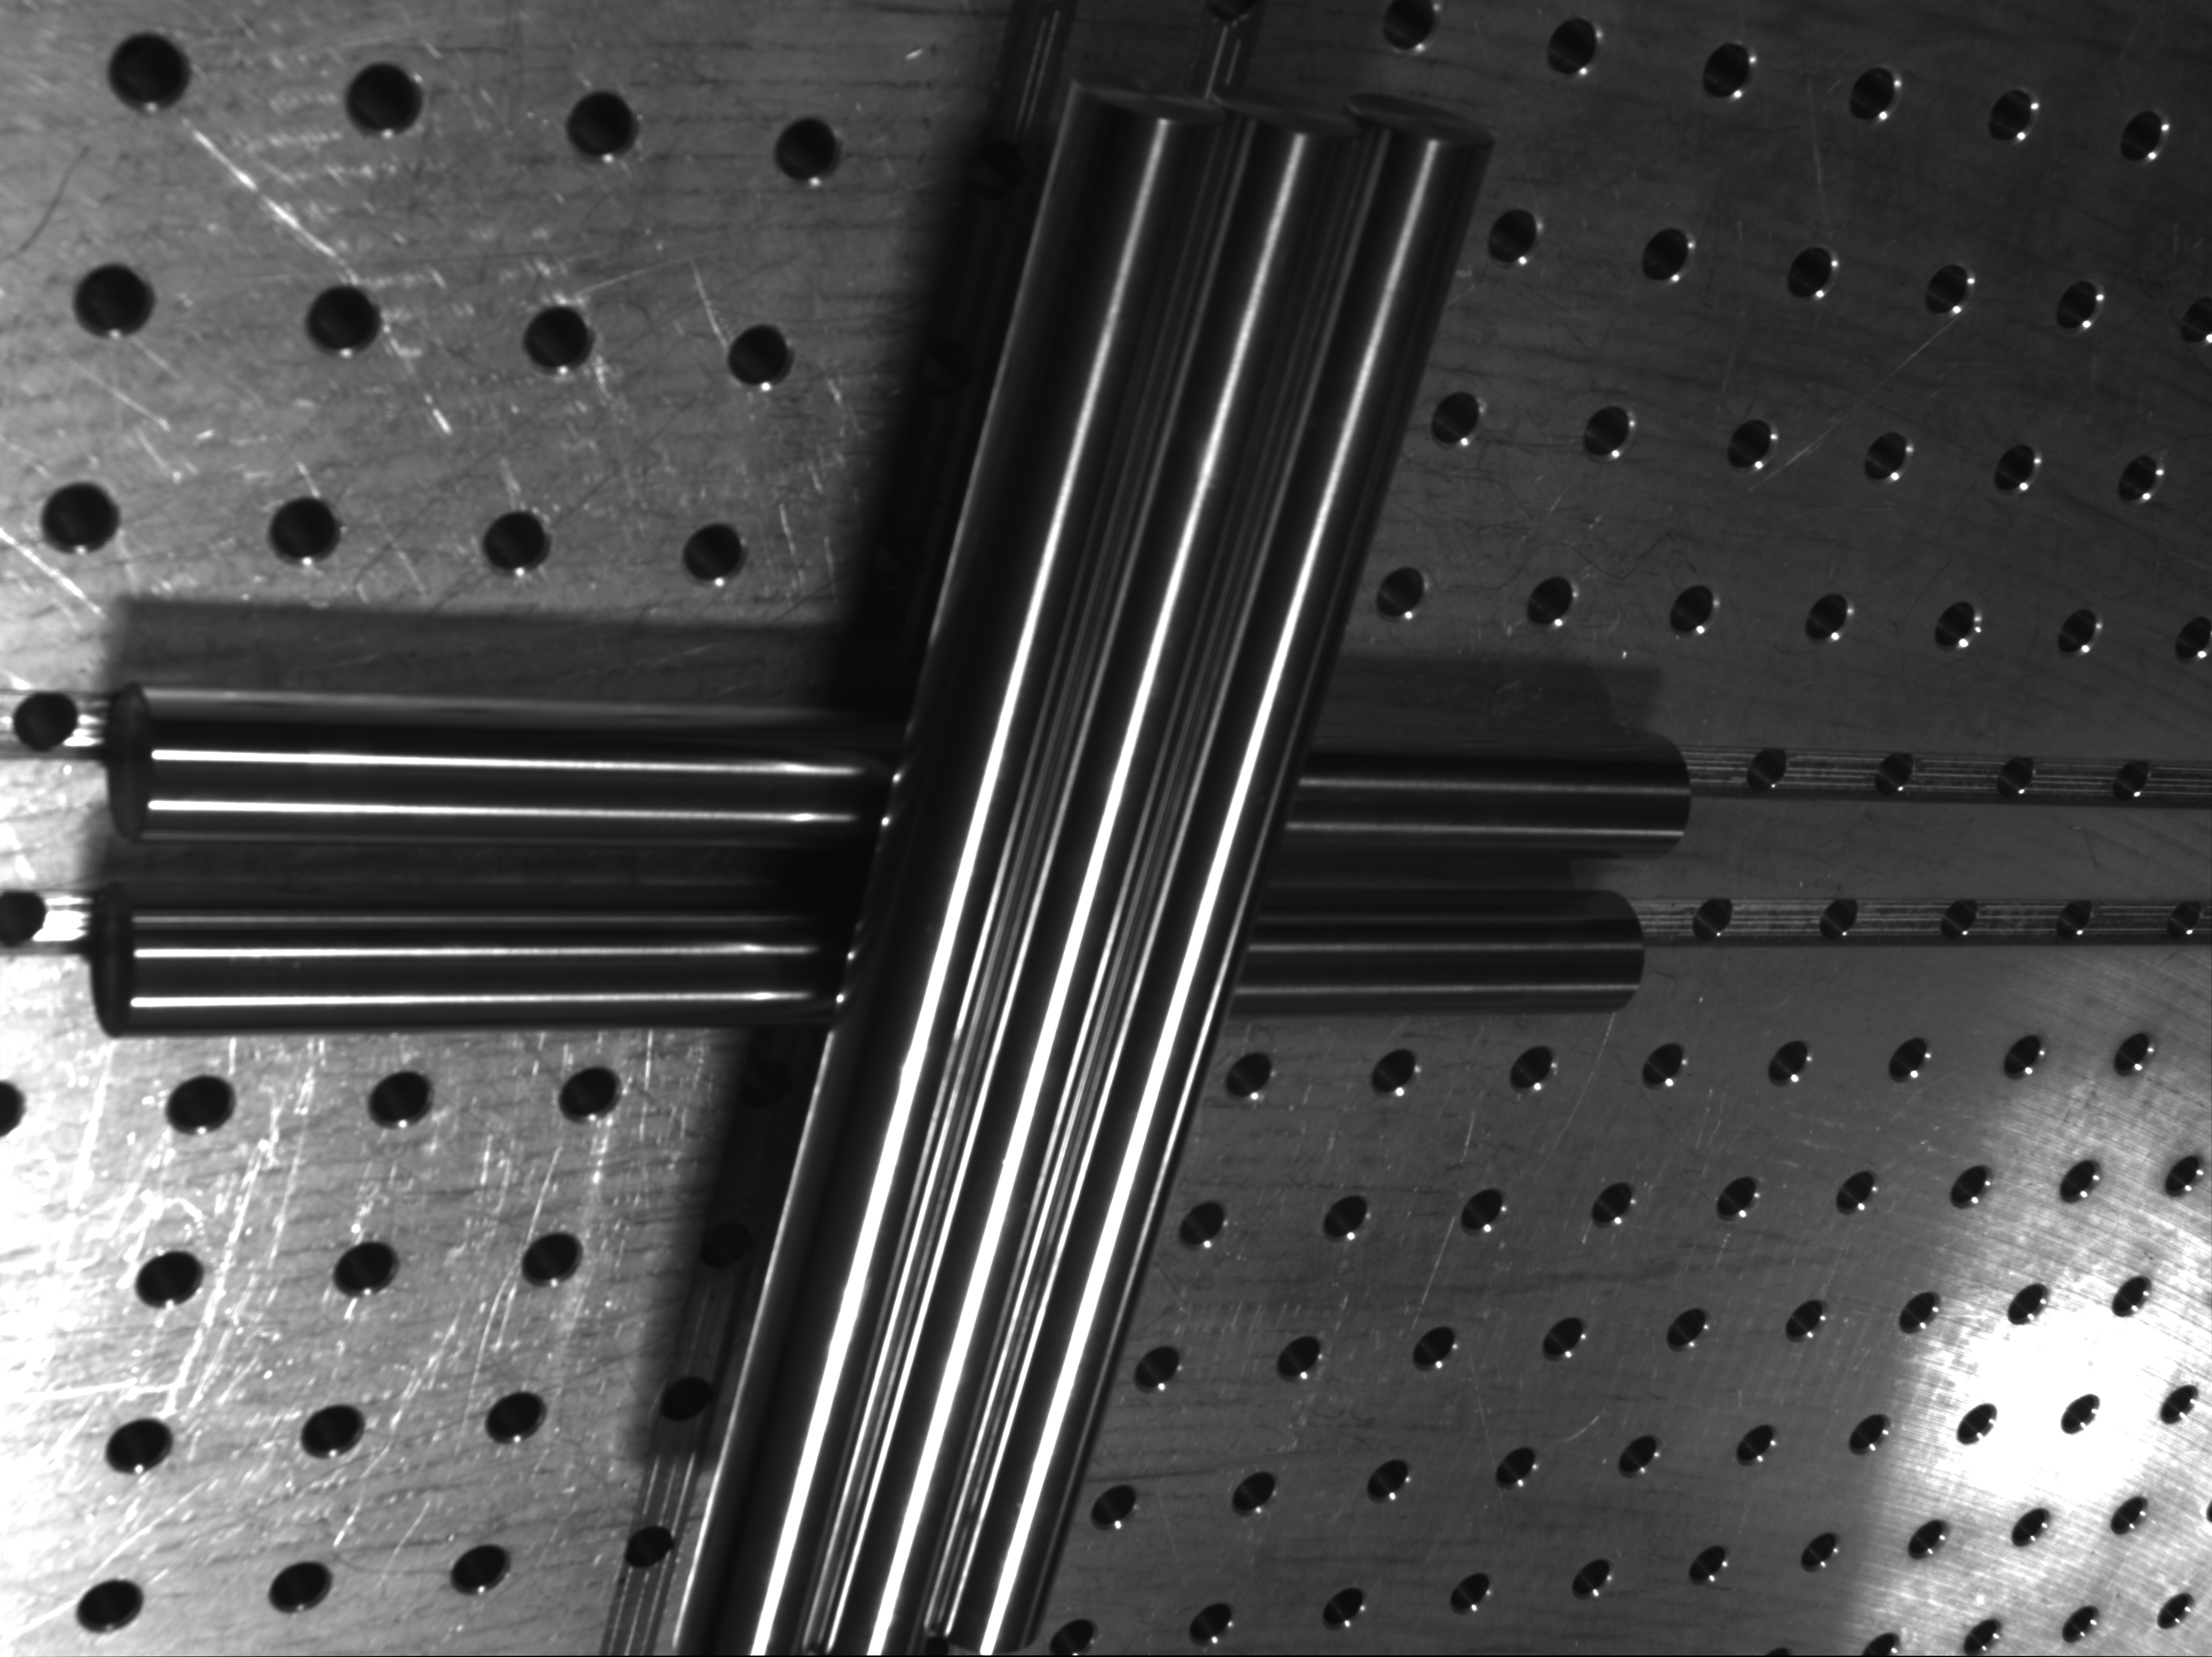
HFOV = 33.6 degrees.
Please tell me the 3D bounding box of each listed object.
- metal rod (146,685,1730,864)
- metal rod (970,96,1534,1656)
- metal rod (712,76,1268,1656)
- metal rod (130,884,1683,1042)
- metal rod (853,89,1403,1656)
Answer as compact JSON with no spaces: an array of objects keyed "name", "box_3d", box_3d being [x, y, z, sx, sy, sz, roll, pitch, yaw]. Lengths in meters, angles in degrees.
[{"name":"metal rod","box_3d":[-0.015,-0.007,0.641,0.301,0.025,0.025,1,118,-31]},{"name":"metal rod","box_3d":[0.019,0.019,0.645,0.025,0.025,0.300,1,118,-31]},{"name":"metal rod","box_3d":[-0.024,0.021,0.621,0.025,0.025,0.300,1,118,-31]},{"name":"metal rod","box_3d":[-0.022,0.023,0.656,0.301,0.025,0.025,1,118,-31]},{"name":"metal rod","box_3d":[-0.003,0.021,0.633,0.025,0.025,0.300,1,118,-31]}]
